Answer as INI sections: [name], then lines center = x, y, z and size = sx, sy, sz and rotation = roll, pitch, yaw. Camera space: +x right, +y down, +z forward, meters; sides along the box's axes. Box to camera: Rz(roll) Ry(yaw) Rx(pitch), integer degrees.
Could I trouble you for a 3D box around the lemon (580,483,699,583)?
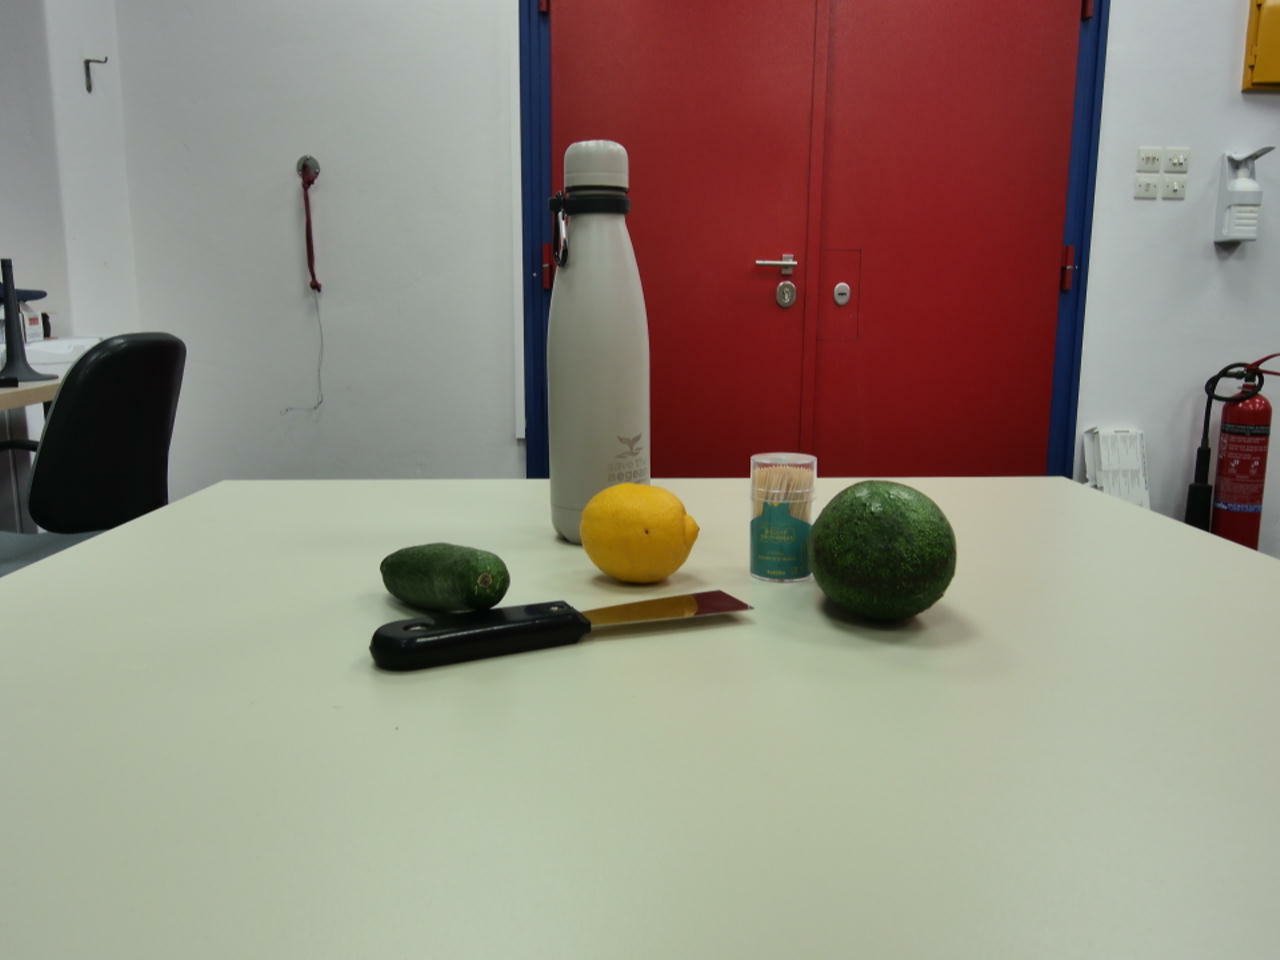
[lemon]
center = -0.002, 0.032, 0.602
size = 0.067, 0.059, 0.060
rotation = 8, 10, 41
